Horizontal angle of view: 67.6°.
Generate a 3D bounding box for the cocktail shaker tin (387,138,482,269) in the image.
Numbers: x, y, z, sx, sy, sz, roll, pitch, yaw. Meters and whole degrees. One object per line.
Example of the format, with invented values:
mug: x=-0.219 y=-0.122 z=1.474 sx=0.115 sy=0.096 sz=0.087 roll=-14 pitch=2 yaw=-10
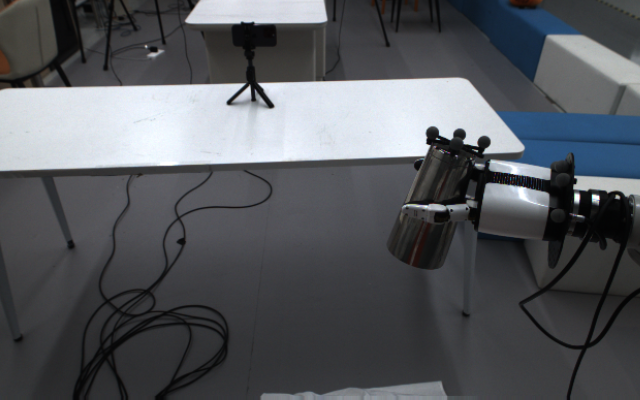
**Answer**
cocktail shaker tin: x=0.168 y=0.002 z=0.709 sx=0.093 sy=0.170 sz=0.093 roll=12 pitch=24 yaw=-5
